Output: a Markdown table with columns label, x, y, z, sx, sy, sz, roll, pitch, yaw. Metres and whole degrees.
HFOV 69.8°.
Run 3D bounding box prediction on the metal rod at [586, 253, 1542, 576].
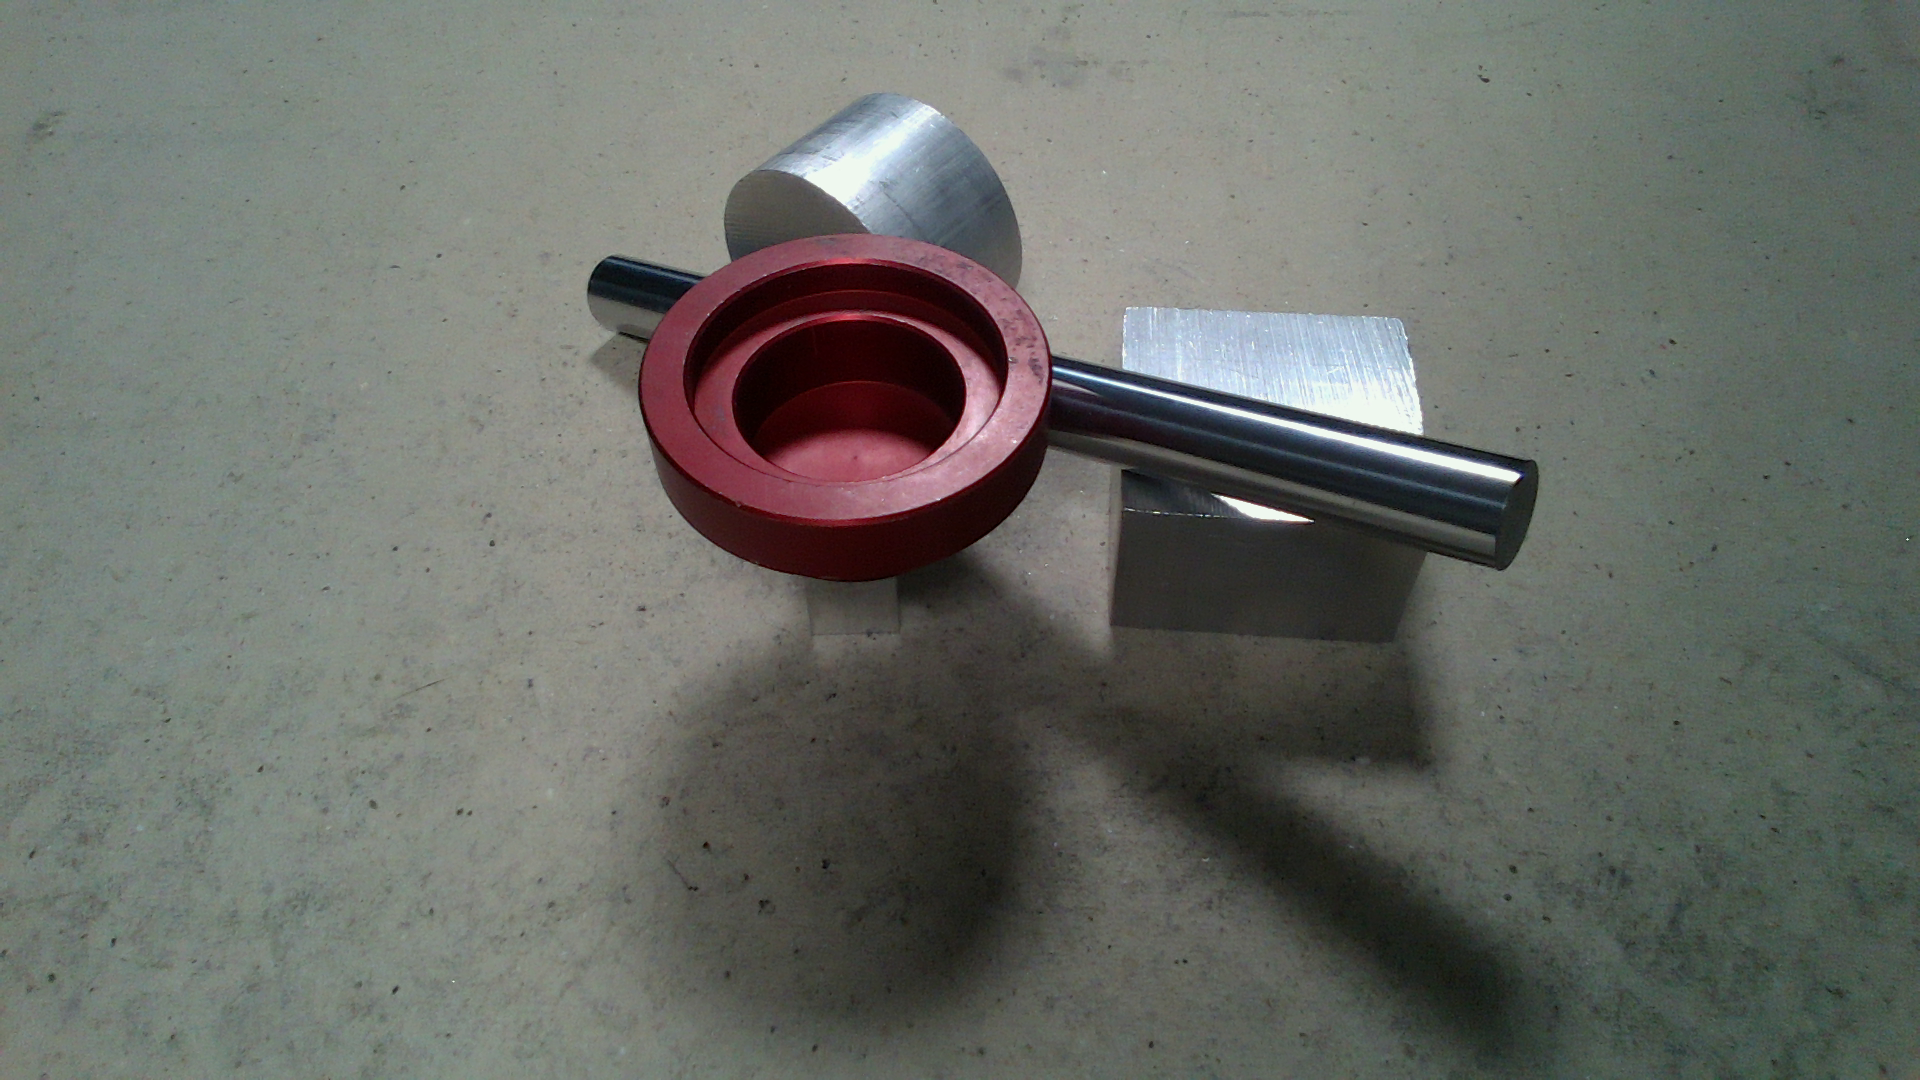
| label | x | y | z | sx | sy | sz | roll | pitch | yaw |
| --- | --- | --- | --- | --- | --- | --- | --- | --- | --- |
| metal rod | 0.003 | -0.044 | 0.380 | 0.299 | 0.025 | 0.025 | 19 | 51 | 33 |

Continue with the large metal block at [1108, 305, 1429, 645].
| label | x | y | z | sx | sy | sz | roll | pitch | yaw |
| --- | --- | --- | --- | --- | --- | --- | --- | --- | --- |
| large metal block | 0.085 | -0.020 | 0.392 | 0.080 | 0.050 | 0.080 | 3 | 50 | 3 |

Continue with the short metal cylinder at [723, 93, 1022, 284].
| label | x | y | z | sx | sy | sz | roll | pitch | yaw |
| --- | --- | --- | --- | --- | --- | --- | --- | --- | --- |
| short metal cylinder | -0.028 | -0.092 | 0.433 | 0.080 | 0.080 | 0.050 | 30 | 56 | 23 |

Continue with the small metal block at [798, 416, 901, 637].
| label | x | y | z | sx | sy | sz | roll | pitch | yaw |
| --- | --- | --- | --- | --- | --- | --- | --- | --- | --- |
| small metal block | -0.030 | -0.008 | 0.383 | 0.025 | 0.050 | 0.050 | -2 | 50 | -1 |

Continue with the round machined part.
| label | x | y | z | sx | sy | sz | roll | pitch | yaw |
| --- | --- | --- | --- | --- | --- | --- | --- | --- | --- |
| round machined part | -0.027 | -0.029 | 0.340 | 0.098 | 0.042 | 0.098 | 0 | 51 | 0 |
